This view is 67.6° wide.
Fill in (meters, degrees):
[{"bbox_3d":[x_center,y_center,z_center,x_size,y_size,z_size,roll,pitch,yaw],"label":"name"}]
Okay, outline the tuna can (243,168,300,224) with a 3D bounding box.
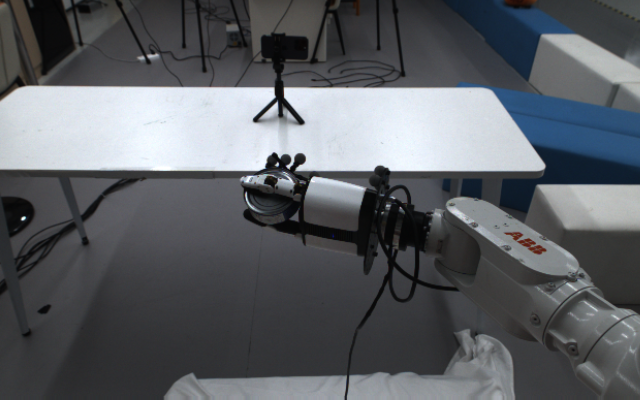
[{"bbox_3d":[-0.072,-0.008,0.742,0.085,0.034,0.085,-4,56,6],"label":"tuna can"}]
